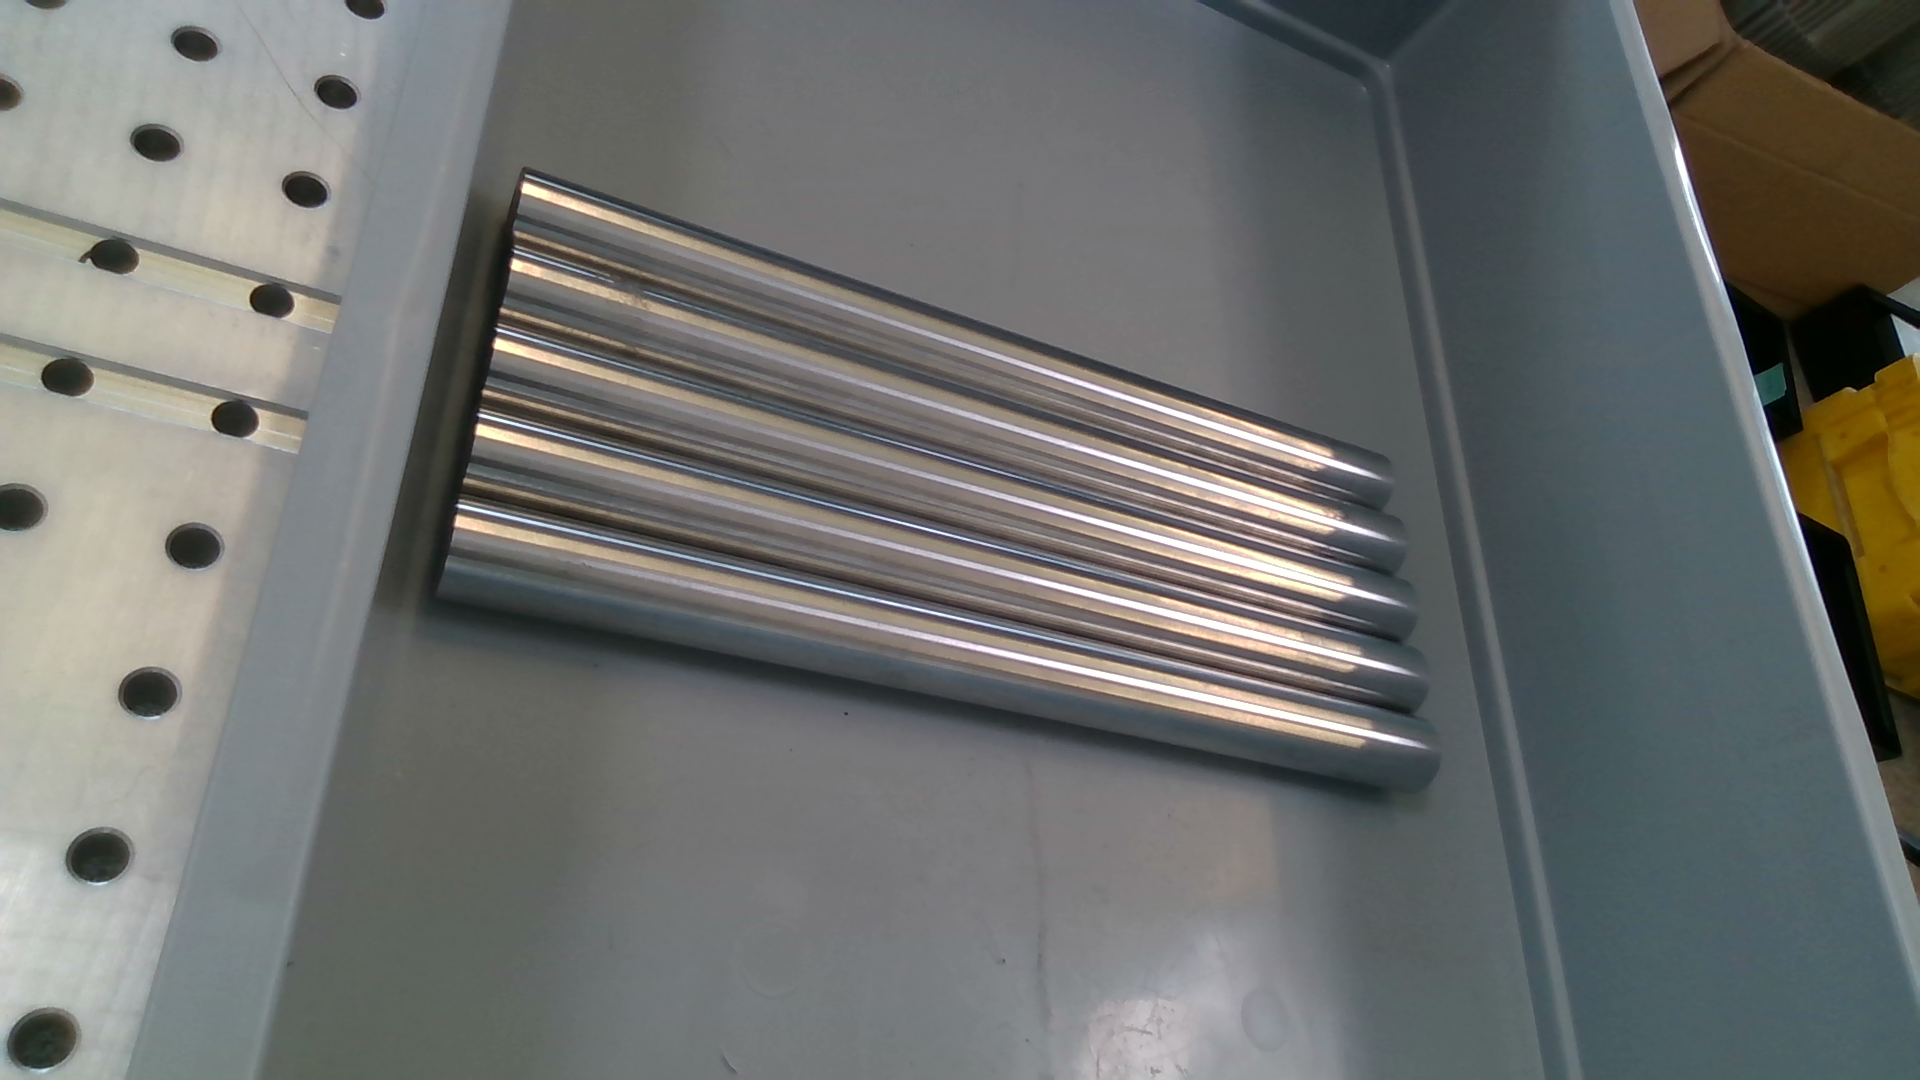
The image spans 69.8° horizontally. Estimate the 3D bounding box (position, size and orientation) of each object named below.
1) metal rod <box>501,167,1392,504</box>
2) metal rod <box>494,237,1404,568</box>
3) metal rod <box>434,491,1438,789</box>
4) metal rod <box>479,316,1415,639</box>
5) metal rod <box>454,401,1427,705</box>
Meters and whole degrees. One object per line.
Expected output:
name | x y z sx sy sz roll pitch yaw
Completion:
metal rod | 0.013 -0.053 0.429 0.300 0.025 0.025 14 59 -25
metal rod | 0.014 -0.032 0.418 0.300 0.025 0.025 14 59 -25
metal rod | 0.013 0.035 0.382 0.300 0.025 0.025 14 59 -25
metal rod | 0.014 -0.010 0.406 0.300 0.025 0.025 14 59 -25
metal rod | 0.014 0.013 0.394 0.300 0.025 0.025 14 59 -25
